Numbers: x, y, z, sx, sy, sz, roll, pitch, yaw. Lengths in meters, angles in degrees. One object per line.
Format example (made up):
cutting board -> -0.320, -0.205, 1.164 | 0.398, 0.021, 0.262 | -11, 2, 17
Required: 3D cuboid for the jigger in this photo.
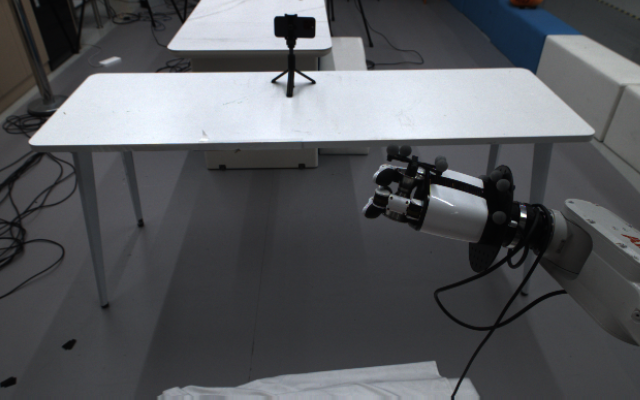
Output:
jigger -> 0.122, -0.008, 0.703 | 0.043, 0.071, 0.043 | 15, 17, -5
